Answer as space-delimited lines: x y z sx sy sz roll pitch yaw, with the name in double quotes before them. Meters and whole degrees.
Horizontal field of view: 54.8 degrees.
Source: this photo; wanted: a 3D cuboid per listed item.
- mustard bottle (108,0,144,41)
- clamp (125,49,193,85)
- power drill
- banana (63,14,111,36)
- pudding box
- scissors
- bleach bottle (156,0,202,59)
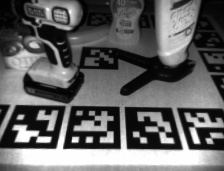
"mustard bottle" 0.040 -0.220 0.602 0.096 0.192 0.058 11 45 8
"clamp" 0.110 -0.068 0.536 0.203 0.037 0.164 -2 47 -8
"power drill" -0.144 -0.091 0.416 0.183 0.188 0.057 8 38 9
"banana" -0.070 -0.186 0.654 0.199 0.039 0.073 -29 36 -28
"pudding box" -0.204 -0.097 0.527 0.114 0.090 0.038 4 38 0
"scissors" -0.212 -0.148 0.486 0.201 0.016 0.088 23 52 11
"bleach bottle" 0.148 -0.153 0.475 0.103 0.252 0.067 -17 44 -9
